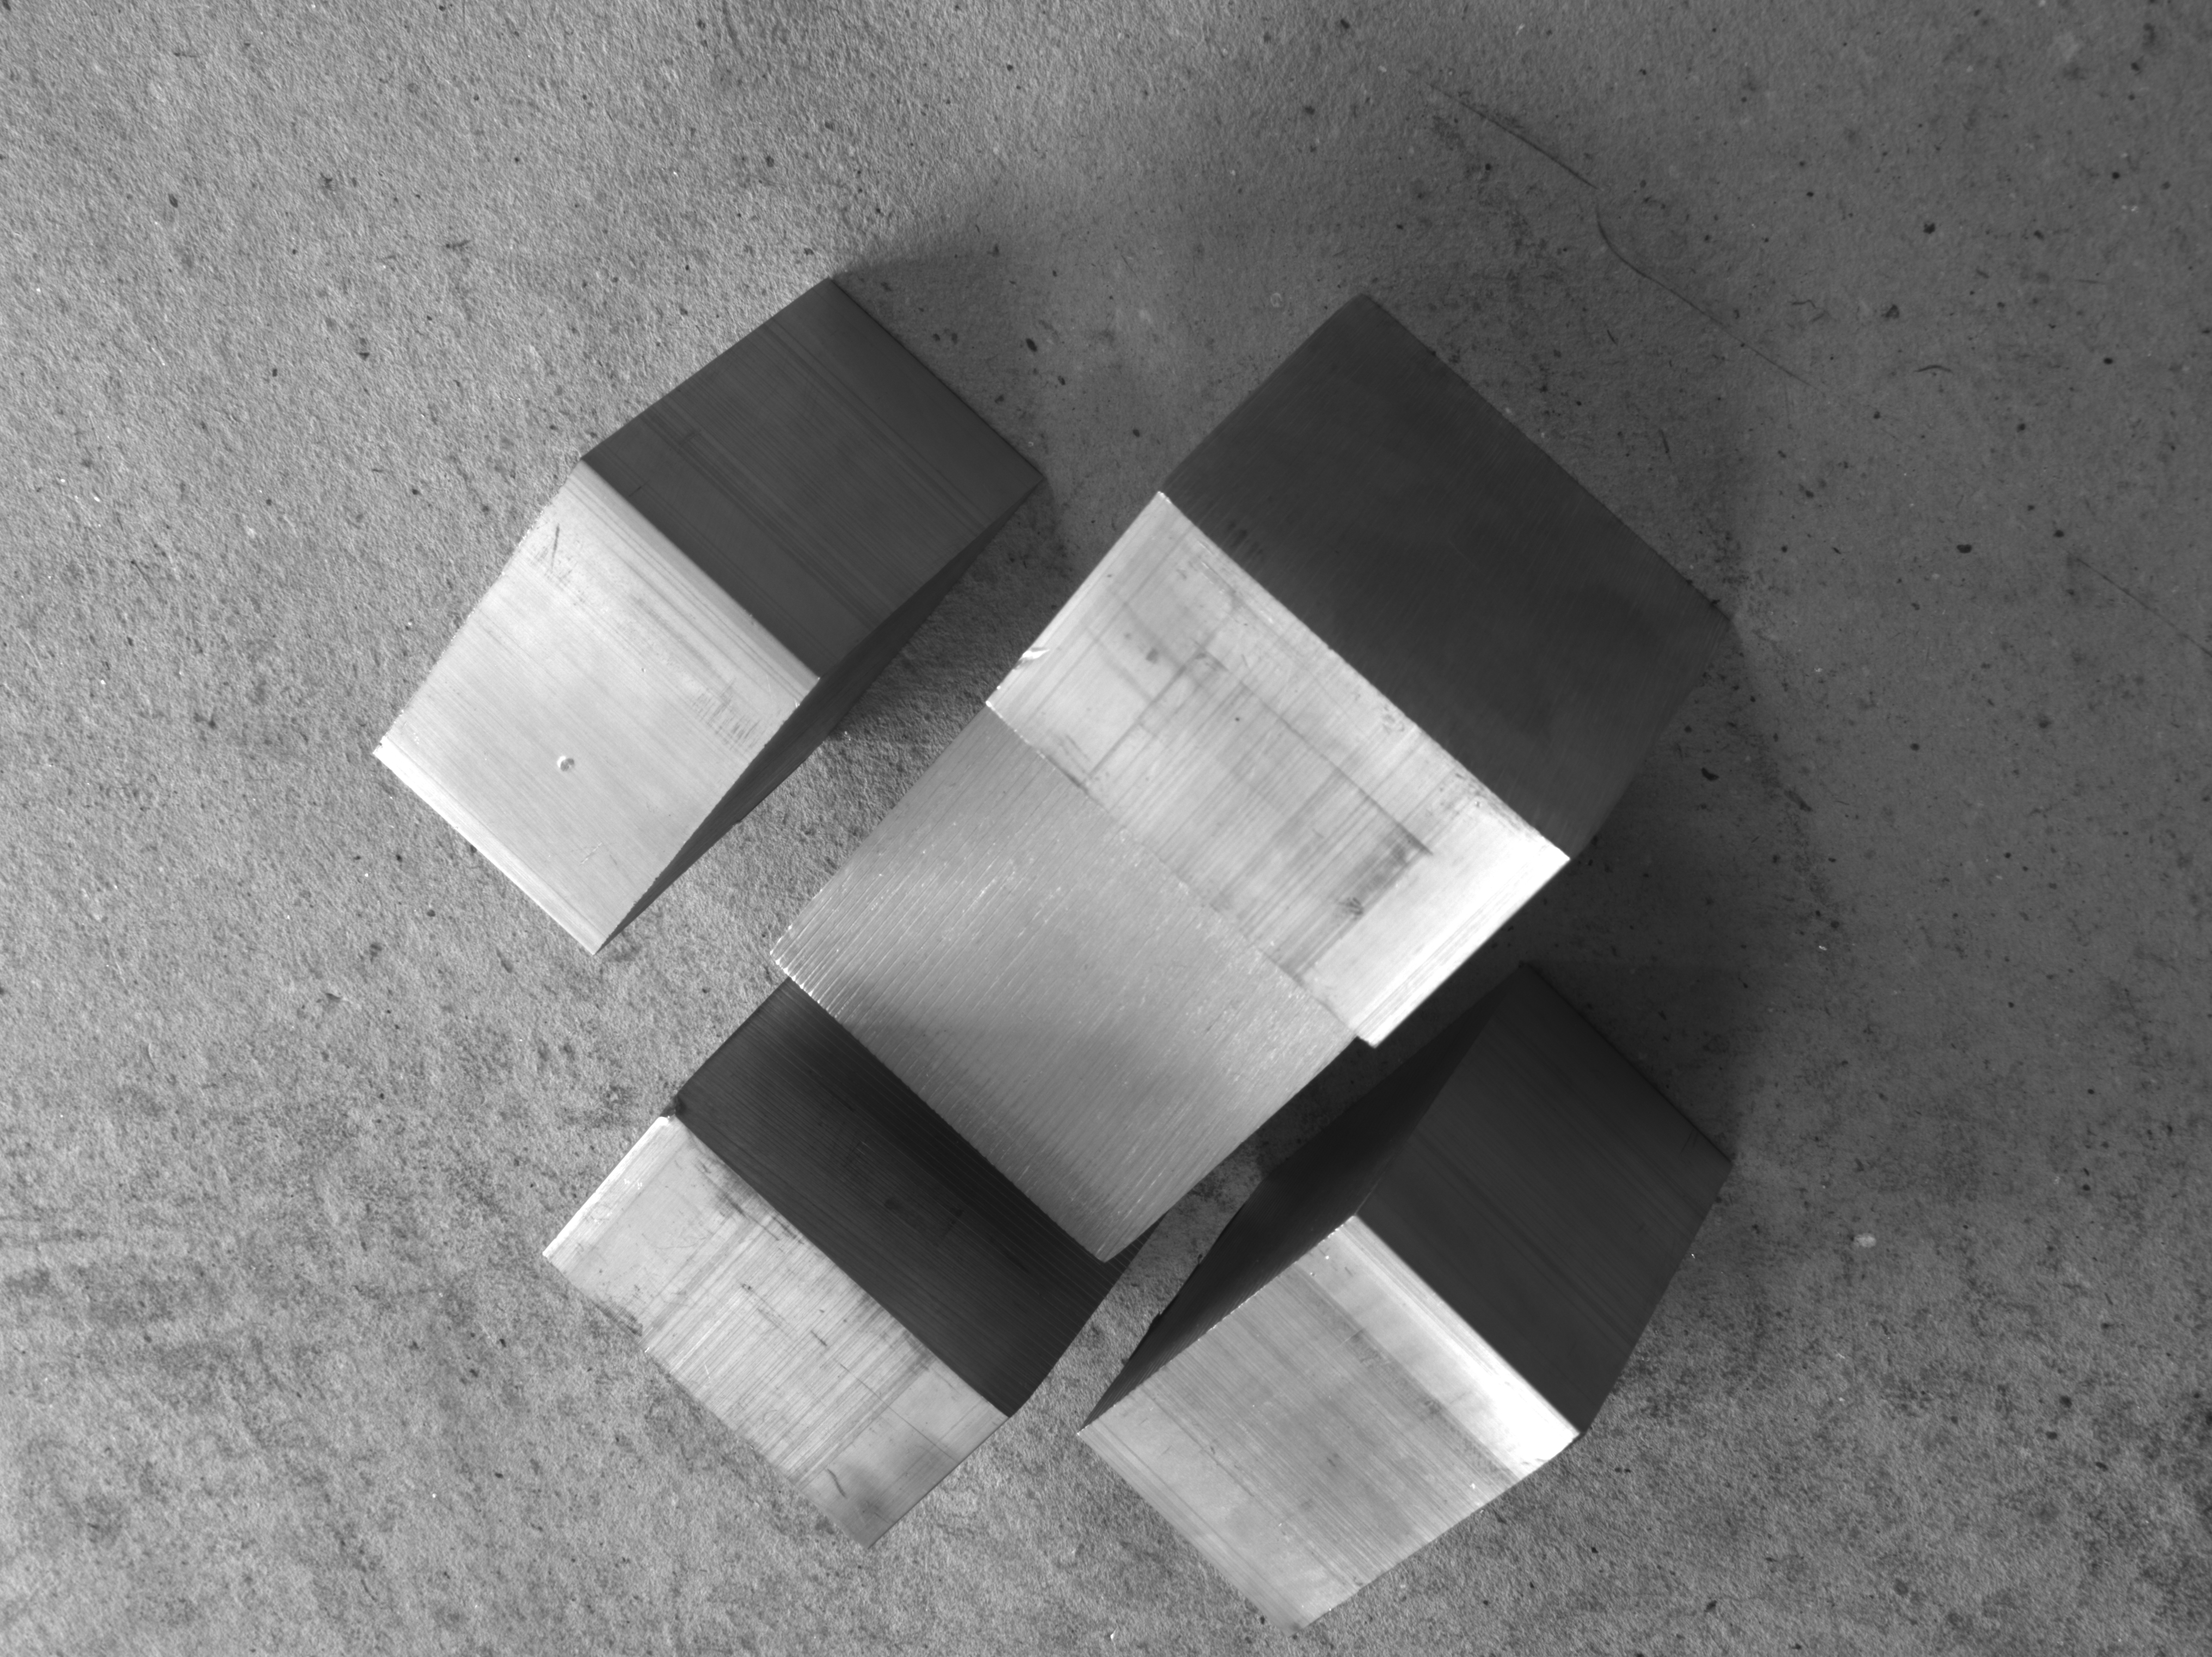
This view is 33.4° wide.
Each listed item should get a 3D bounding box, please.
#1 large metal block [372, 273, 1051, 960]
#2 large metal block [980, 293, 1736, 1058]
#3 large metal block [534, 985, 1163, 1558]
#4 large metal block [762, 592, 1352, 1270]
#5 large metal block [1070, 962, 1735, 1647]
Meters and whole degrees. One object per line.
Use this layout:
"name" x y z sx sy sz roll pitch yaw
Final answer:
"large metal block" -0.066 -0.036 0.621 0.050 0.080 0.080 43 129 -1
"large metal block" 0.041 -0.025 0.570 0.080 0.080 0.050 42 129 0
"large metal block" -0.042 0.070 0.672 0.080 0.080 0.050 43 129 -1
"large metal block" 0.002 0.015 0.631 0.080 0.050 0.080 43 129 -1
"large metal block" 0.051 0.081 0.628 0.050 0.080 0.080 45 129 -1
